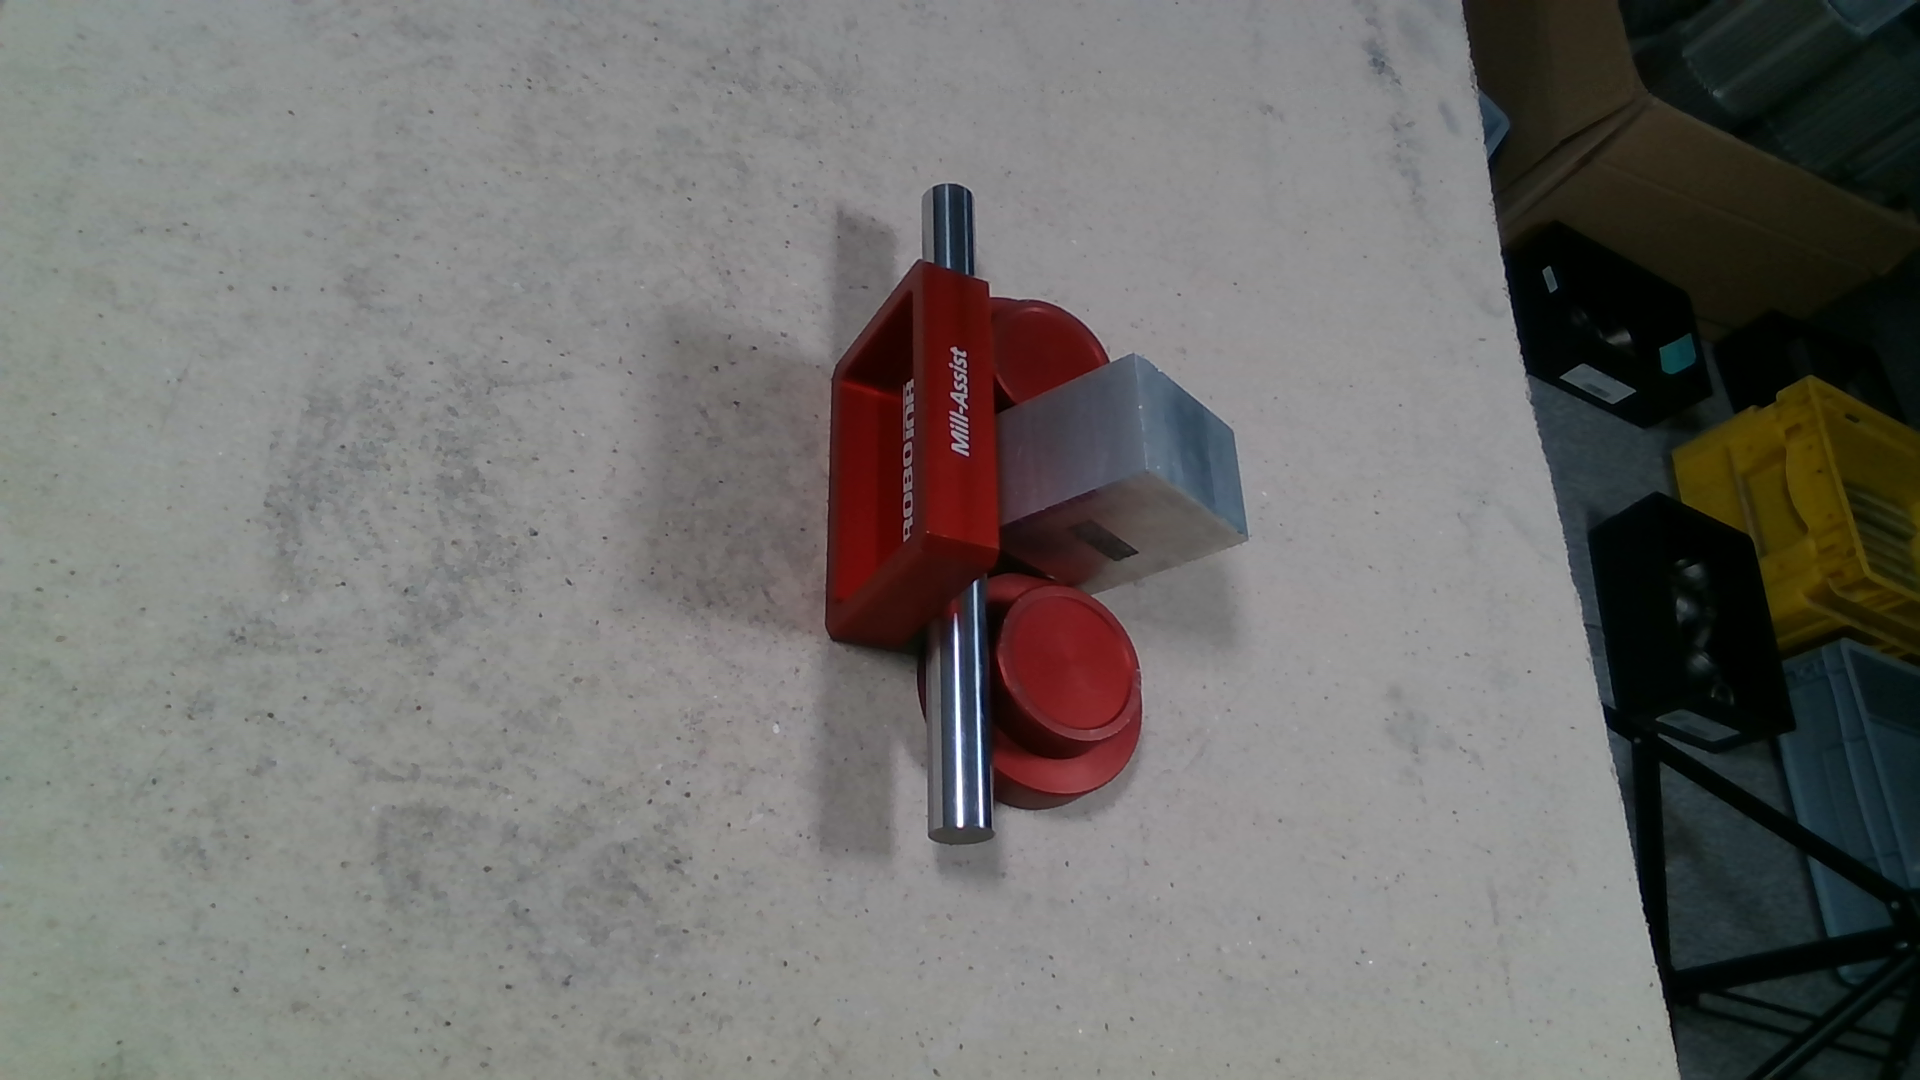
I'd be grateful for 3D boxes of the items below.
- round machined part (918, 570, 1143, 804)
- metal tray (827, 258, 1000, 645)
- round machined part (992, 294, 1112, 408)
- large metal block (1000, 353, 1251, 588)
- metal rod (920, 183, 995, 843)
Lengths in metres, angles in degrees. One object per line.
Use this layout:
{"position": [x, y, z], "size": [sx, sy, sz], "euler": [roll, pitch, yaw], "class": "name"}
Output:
{"position": [0.036, 0.057, 0.566], "size": [0.098, 0.042, 0.098], "euler": [14, 59, -25], "class": "round machined part"}
{"position": [-0.021, -0.034, 0.549], "size": [0.030, 0.090, 0.130], "euler": [13, 59, -25], "class": "metal tray"}
{"position": [0.032, -0.072, 0.632], "size": [0.098, 0.042, 0.098], "euler": [14, 59, -25], "class": "round machined part"}
{"position": [0.062, -0.024, 0.567], "size": [0.080, 0.080, 0.050], "euler": [29, 50, -45], "class": "large metal block"}
{"position": [-0.003, -0.025, 0.571], "size": [0.025, 0.025, 0.299], "euler": [13, 59, -26], "class": "metal rod"}
